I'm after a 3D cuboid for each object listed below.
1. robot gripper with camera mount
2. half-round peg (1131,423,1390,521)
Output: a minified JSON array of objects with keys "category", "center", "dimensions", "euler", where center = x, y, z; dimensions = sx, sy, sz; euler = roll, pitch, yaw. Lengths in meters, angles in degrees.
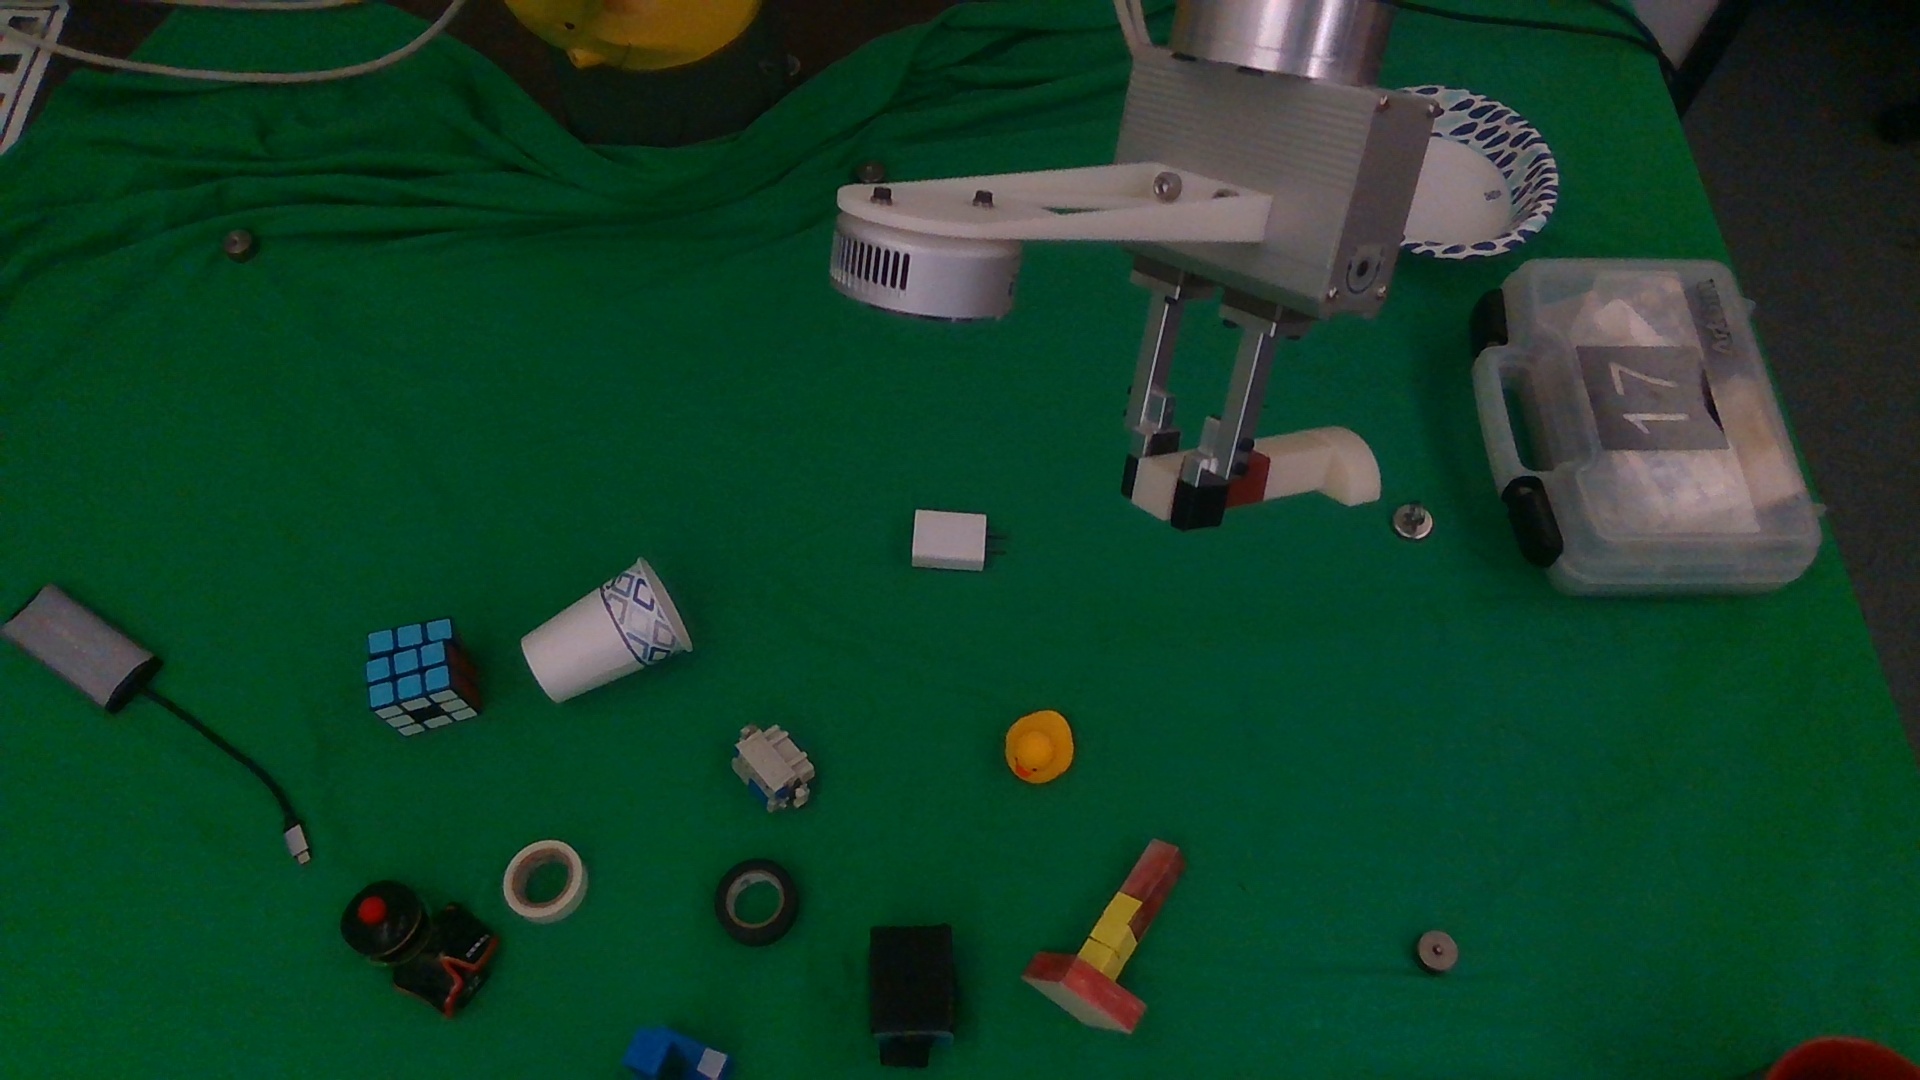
[{"category":"robot gripper with camera mount","center":[0.029,-0.074,0.486],"dimensions":[0.193,0.158,0.119],"euler":[-11,29,-37]},{"category":"half-round peg","center":[0.126,-0.028,0.594],"dimensions":[0.121,0.031,0.054],"euler":[-10,28,-34]}]
